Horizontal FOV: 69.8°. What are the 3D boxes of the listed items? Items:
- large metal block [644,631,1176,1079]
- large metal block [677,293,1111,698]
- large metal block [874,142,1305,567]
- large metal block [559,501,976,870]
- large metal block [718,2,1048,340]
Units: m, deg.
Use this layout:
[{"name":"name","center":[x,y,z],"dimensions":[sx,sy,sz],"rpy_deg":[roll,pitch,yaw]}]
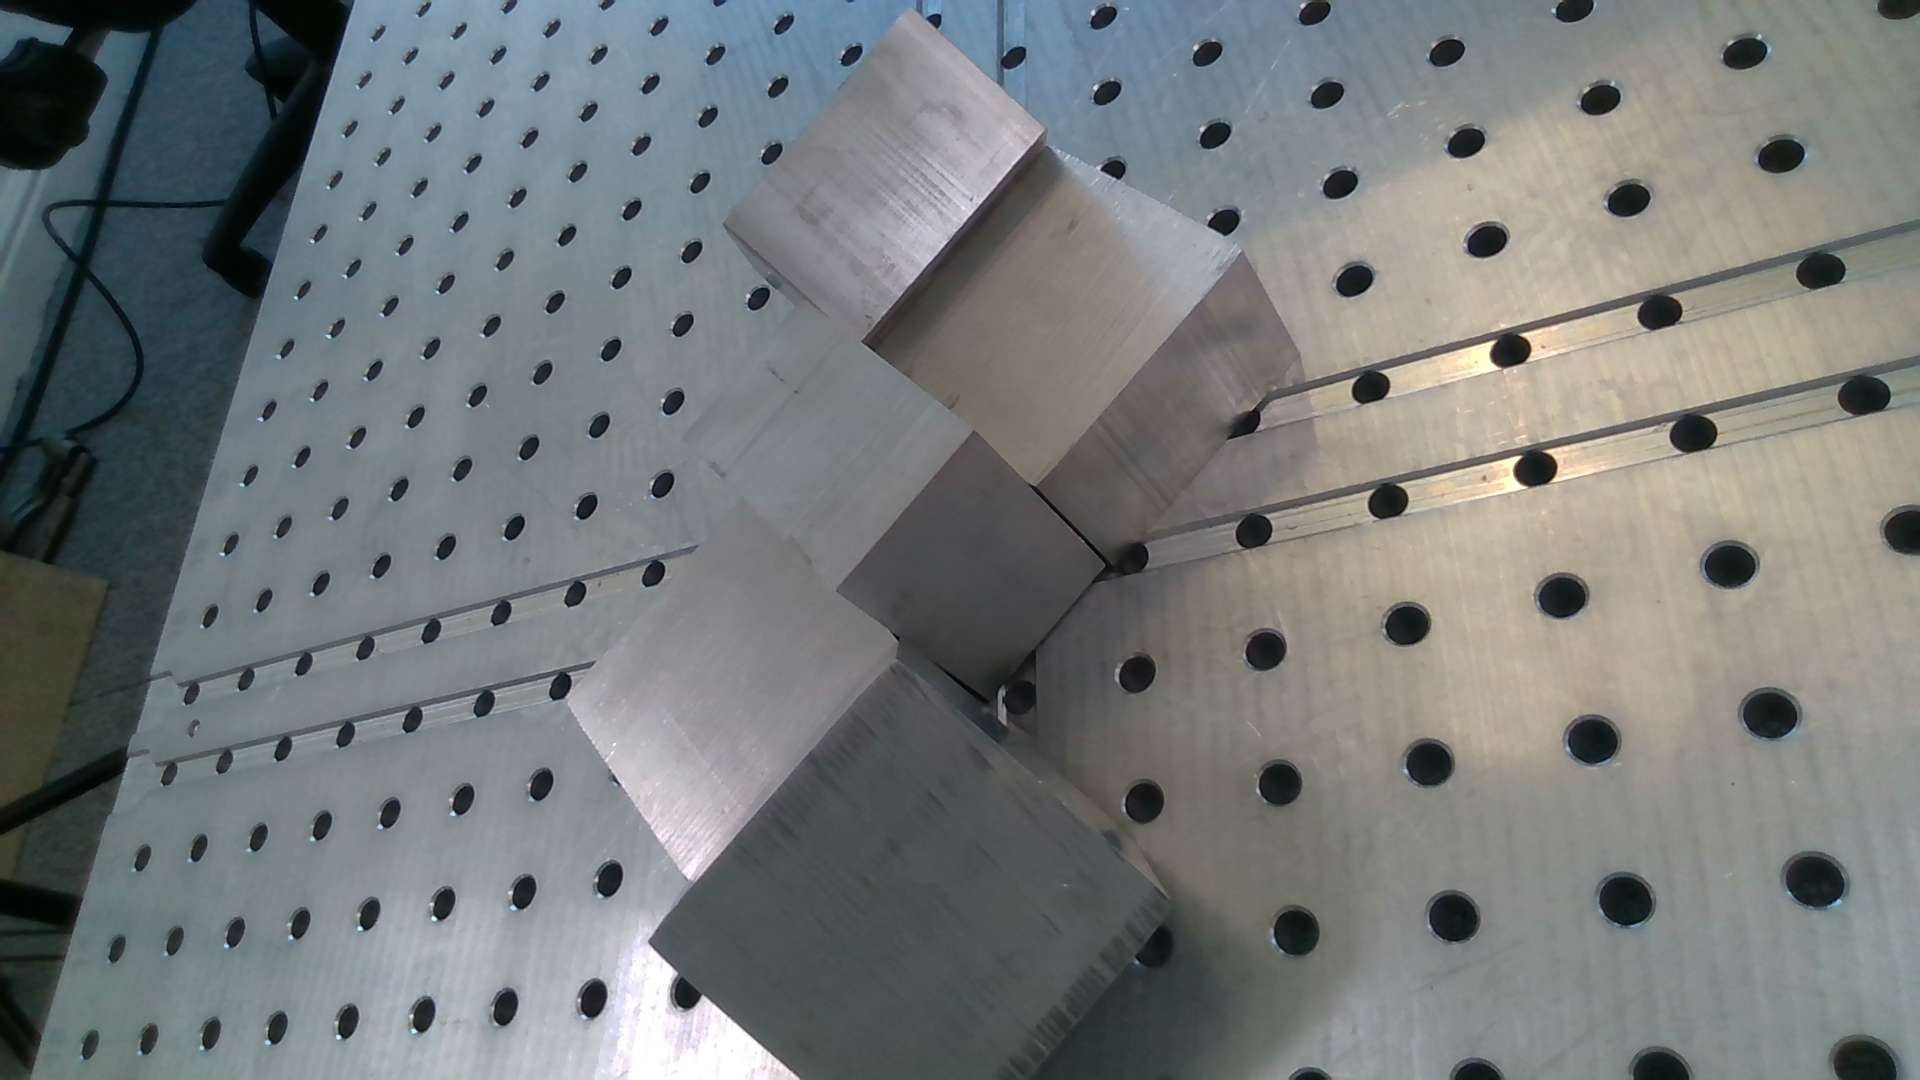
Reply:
[{"name":"large metal block","center":[-0.011,0.079,0.317],"dimensions":[0.080,0.050,0.080],"rpy_deg":[41,91,-1]},{"name":"large metal block","center":[-0.017,-0.011,0.376],"dimensions":[0.050,0.080,0.080],"rpy_deg":[-50,51,1]},{"name":"large metal block","center":[0.034,-0.053,0.387],"dimensions":[0.080,0.050,0.080],"rpy_deg":[-49,50,1]},{"name":"large metal block","center":[-0.053,0.045,0.388],"dimensions":[0.080,0.050,0.080],"rpy_deg":[-48,51,-1]},{"name":"large metal block","center":[-0.021,-0.101,0.417],"dimensions":[0.050,0.080,0.080],"rpy_deg":[41,91,0]}]
